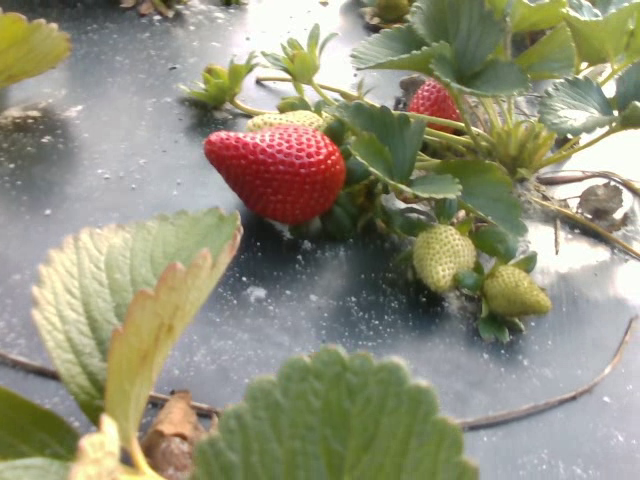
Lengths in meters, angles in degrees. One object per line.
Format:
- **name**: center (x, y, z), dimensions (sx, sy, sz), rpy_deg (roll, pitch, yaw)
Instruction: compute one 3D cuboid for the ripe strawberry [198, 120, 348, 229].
- **ripe strawberry**: center (-0.025, -0.032, 0.240), dimensions (0.055, 0.048, 0.051), rpy_deg (18, -16, -41)
